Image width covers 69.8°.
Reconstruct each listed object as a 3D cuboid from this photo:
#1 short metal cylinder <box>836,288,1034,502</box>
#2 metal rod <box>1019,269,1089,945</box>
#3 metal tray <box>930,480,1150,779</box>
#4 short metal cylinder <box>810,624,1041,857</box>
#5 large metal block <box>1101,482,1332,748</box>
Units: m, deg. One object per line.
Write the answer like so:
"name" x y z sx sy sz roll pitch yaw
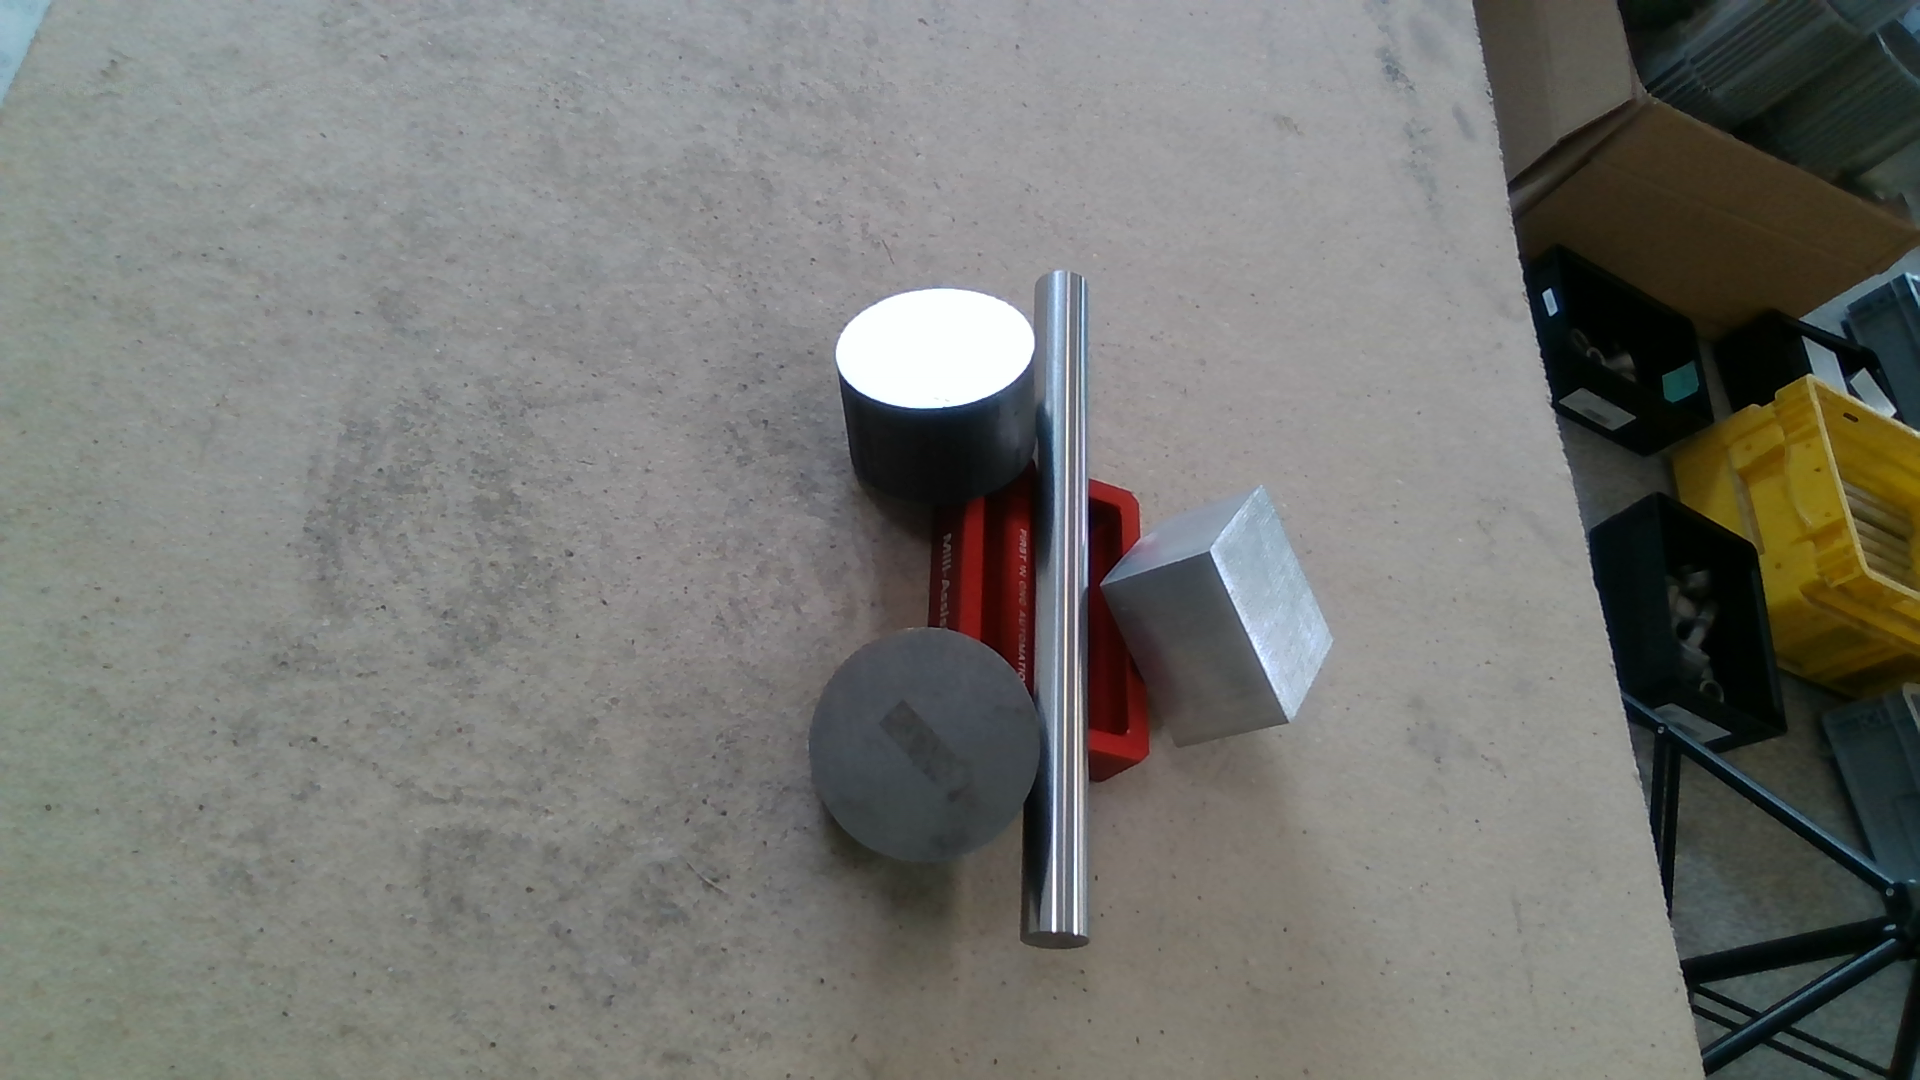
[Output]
"short metal cylinder" -0.009 -0.061 0.574 0.080 0.050 0.080 -2 44 2
"metal rod" 0.040 0.012 0.566 0.025 0.025 0.299 17 58 -23
"metal tray" 0.033 0.030 0.589 0.090 0.030 0.130 16 58 -24
"short metal cylinder" -0.014 0.073 0.502 0.080 0.050 0.080 1 81 -6
"large metal block" 0.113 0.031 0.596 0.080 0.050 0.080 63 34 -9
